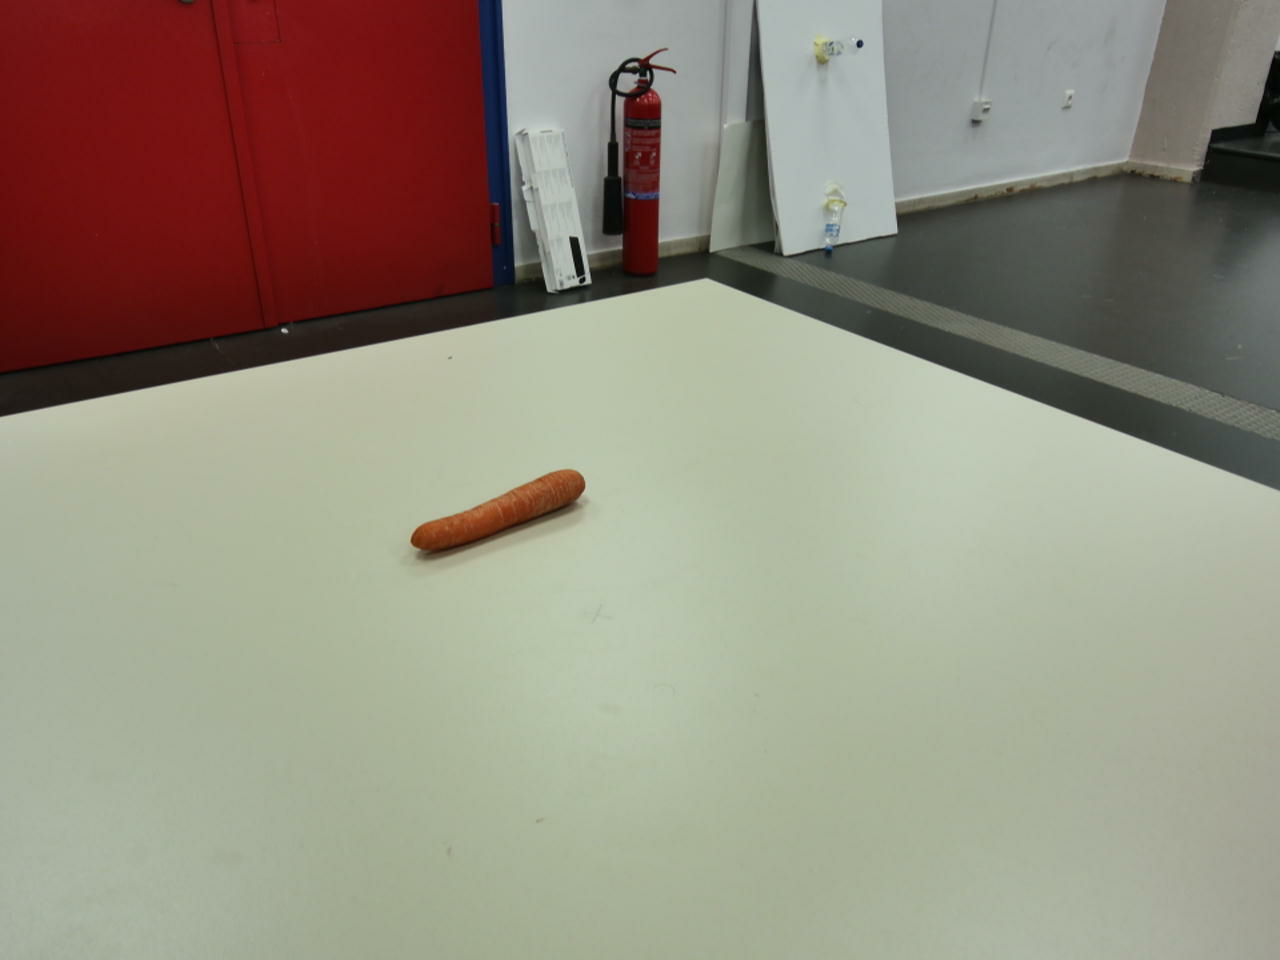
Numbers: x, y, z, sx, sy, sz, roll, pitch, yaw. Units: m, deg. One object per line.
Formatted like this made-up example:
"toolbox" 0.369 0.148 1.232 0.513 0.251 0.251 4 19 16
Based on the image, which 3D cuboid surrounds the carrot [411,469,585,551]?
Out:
"carrot" -0.085 0.018 0.612 0.122 0.023 0.024 -19 32 -35
